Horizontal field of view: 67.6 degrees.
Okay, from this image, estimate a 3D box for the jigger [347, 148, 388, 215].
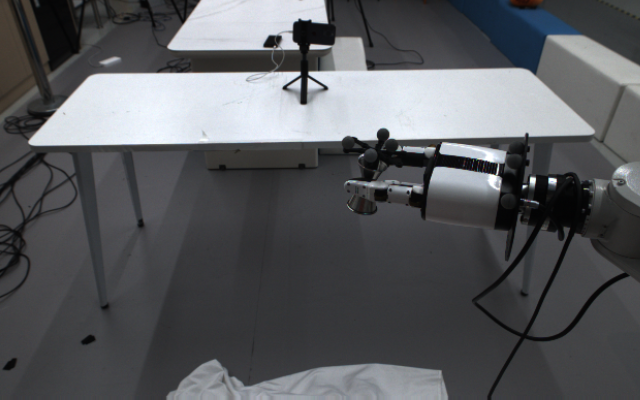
[{"bbox_3d":[0.063,-0.020,0.657,0.043,0.071,0.043,9,30,-5],"label":"jigger"}]
